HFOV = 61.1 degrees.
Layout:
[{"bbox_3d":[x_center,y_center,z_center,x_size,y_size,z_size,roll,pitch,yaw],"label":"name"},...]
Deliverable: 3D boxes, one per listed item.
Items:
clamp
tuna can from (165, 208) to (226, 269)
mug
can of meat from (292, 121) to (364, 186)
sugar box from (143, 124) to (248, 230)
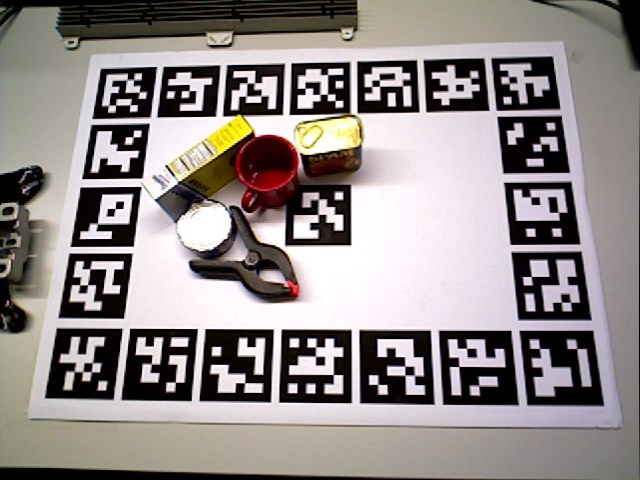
[{"bbox_3d":[-0.106,0.052,0.790,0.165,0.037,0.120,34,74,8],"label":"clamp"},{"bbox_3d":[-0.183,-0.001,0.806,0.085,0.034,0.085,-1,75,3],"label":"tuna can"},{"bbox_3d":[-0.089,-0.079,0.795,0.093,0.082,0.116,24,77,9],"label":"mug"},{"bbox_3d":[0.011,-0.126,0.811,0.101,0.085,0.057,-8,70,-1],"label":"can of meat"},{"bbox_3d":[-0.181,-0.092,0.809,0.175,0.094,0.045,-37,72,-9],"label":"sugar box"}]
